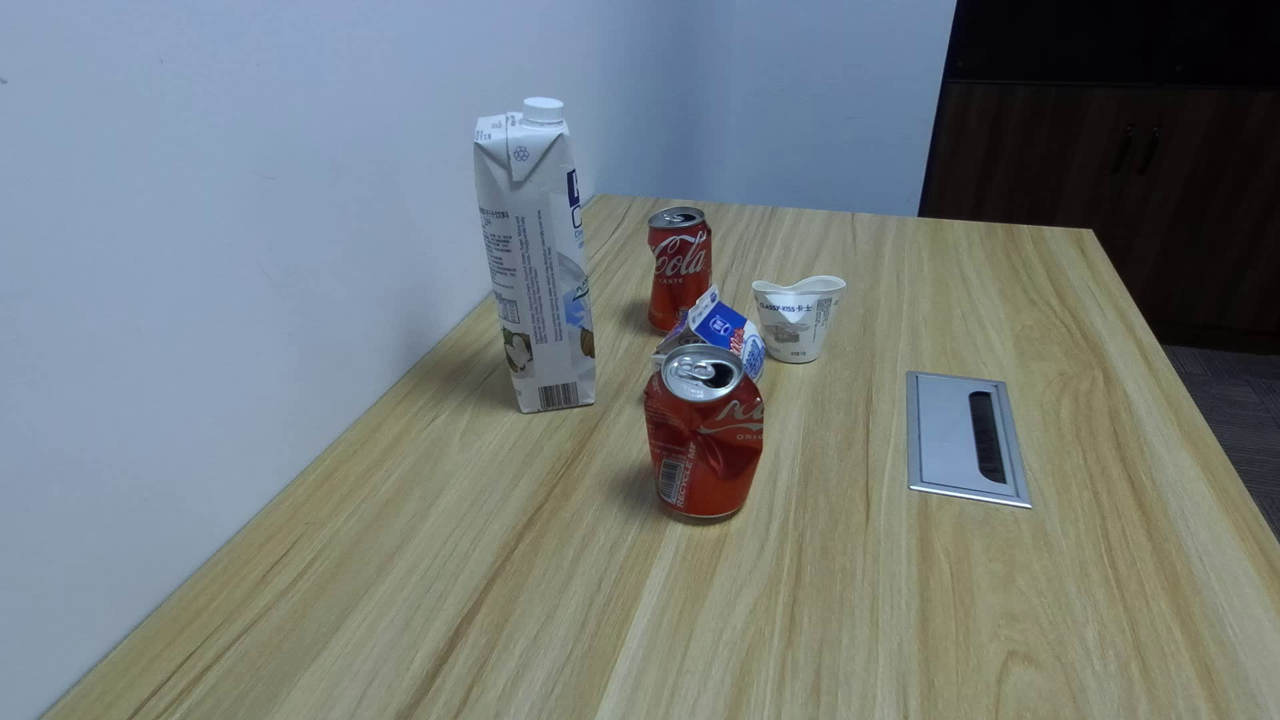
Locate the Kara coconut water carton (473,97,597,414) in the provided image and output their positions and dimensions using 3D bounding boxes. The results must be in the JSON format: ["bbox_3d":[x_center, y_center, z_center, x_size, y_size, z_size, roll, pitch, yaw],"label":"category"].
[{"bbox_3d":[-0.080,-0.077,0.564,0.075,0.245,0.077,-7,32,-5],"label":"Kara coconut water carton"}]

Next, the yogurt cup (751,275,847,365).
[{"bbox_3d":[0.142,-0.040,0.653,0.076,0.071,0.053,-18,36,-27],"label":"yogurt cup"}]

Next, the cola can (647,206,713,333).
[{"bbox_3d":[0.040,-0.087,0.695,0.065,0.117,0.072,9,34,15],"label":"cola can"}]

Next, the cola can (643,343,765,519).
[{"bbox_3d":[0.041,0.048,0.476,0.066,0.112,0.069,-22,39,-25],"label":"cola can"}]

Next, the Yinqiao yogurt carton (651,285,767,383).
[{"bbox_3d":[0.059,-0.011,0.588,0.080,0.097,0.074,6,32,26],"label":"Yinqiao yogurt carton"}]
